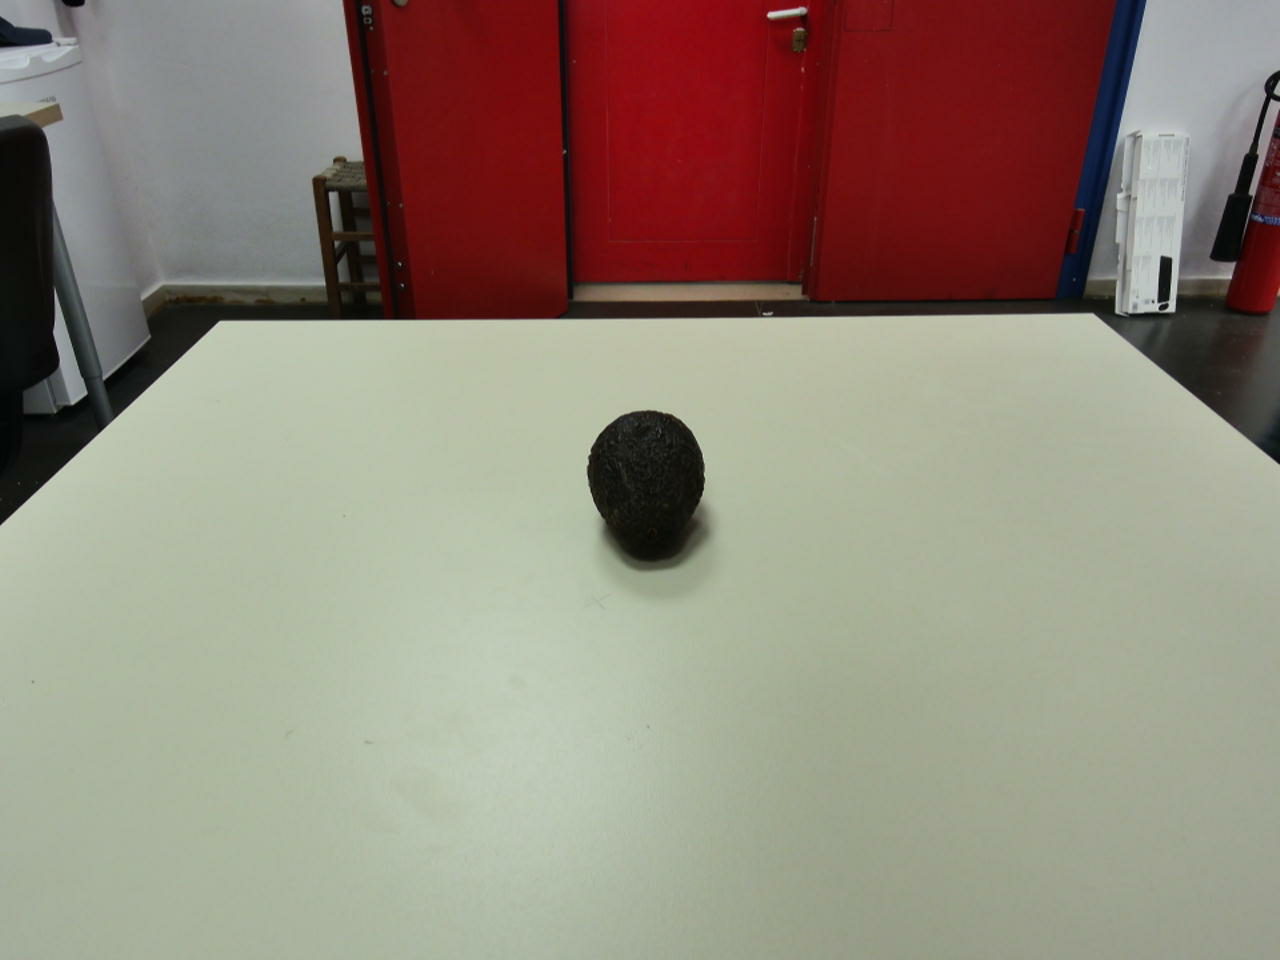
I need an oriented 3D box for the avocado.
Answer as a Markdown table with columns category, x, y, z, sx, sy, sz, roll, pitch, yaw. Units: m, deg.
| category | x | y | z | sx | sy | sz | roll | pitch | yaw |
| --- | --- | --- | --- | --- | --- | --- | --- | --- | --- |
| avocado | 0.001 | -0.002 | 0.581 | 0.070 | 0.069 | 0.090 | 11 | 29 | 22 |
